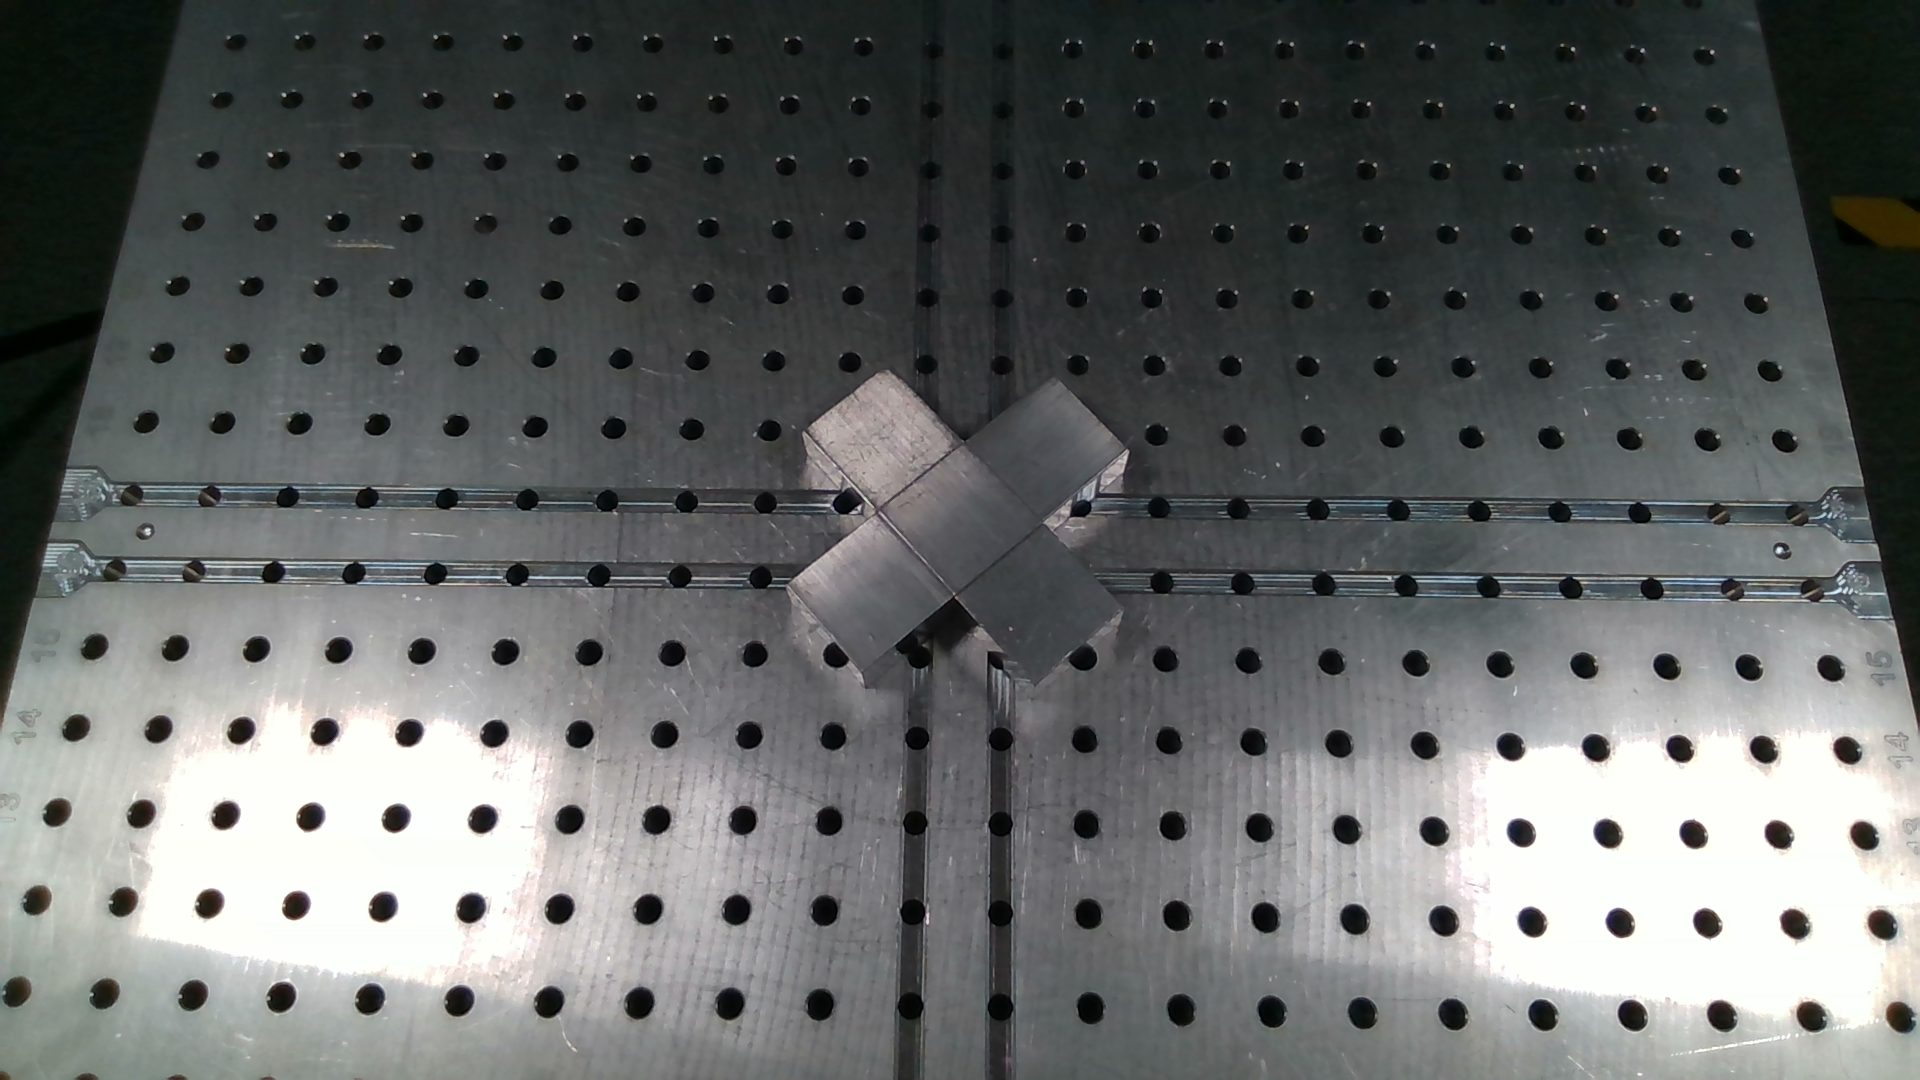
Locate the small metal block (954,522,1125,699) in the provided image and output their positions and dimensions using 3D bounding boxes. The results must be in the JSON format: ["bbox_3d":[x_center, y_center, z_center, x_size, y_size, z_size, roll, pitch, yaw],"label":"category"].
[{"bbox_3d":[0.033,0.030,0.579,0.050,0.025,0.050,-40,75,-13],"label":"small metal block"}]

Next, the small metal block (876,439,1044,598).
[{"bbox_3d":[0.000,-0.006,0.592,0.050,0.025,0.050,-40,75,-13],"label":"small metal block"}]

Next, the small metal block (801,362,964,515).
[{"bbox_3d":[-0.034,-0.041,0.605,0.050,0.025,0.050,-40,75,-13],"label":"small metal block"}]

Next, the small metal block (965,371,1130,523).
[{"bbox_3d":[0.038,-0.037,0.604,0.050,0.025,0.050,-39,75,-13],"label":"small metal block"}]

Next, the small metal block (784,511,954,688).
[{"bbox_3d":[-0.038,0.025,0.582,0.050,0.025,0.050,-39,75,-13],"label":"small metal block"}]
